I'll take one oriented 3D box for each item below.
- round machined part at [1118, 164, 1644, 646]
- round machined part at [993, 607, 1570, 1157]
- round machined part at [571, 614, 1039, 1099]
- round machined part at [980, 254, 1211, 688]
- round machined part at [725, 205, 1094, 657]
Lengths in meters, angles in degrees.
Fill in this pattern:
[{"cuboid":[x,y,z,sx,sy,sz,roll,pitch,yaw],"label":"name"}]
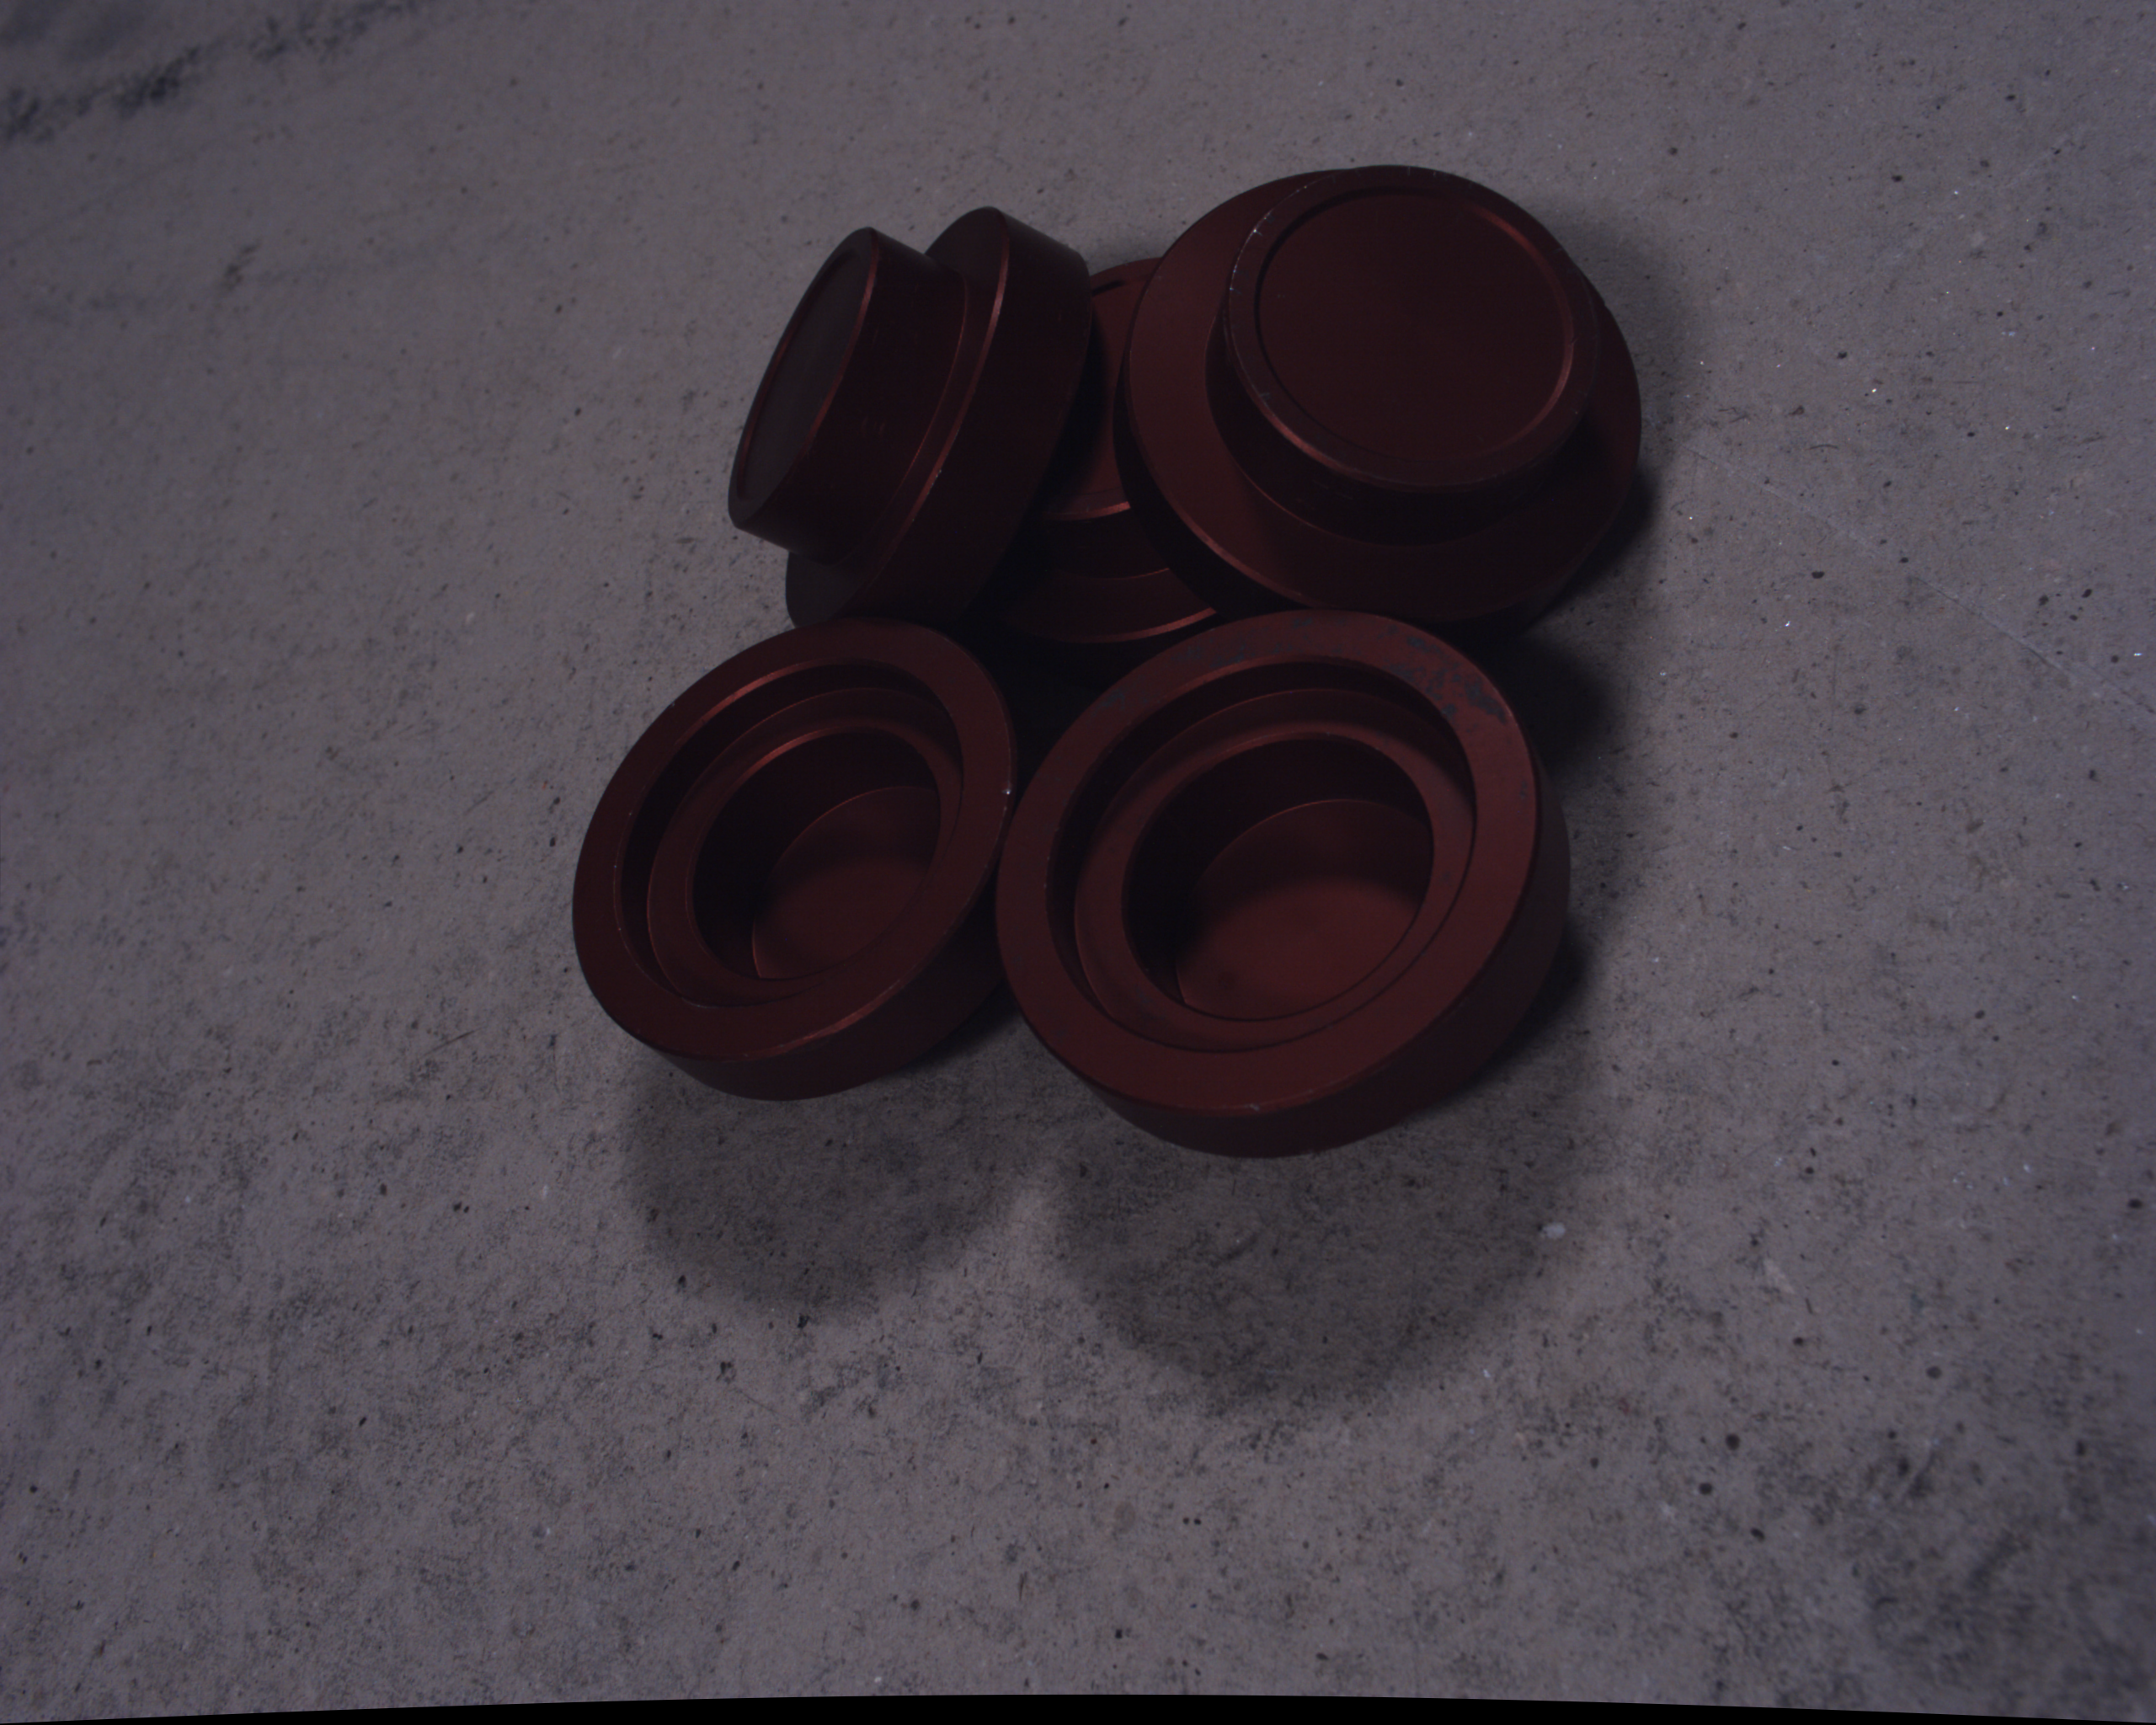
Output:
[{"cuboid":[0.058,-0.090,0.390,0.099,0.042,0.098,2,71,-5],"label":"round machined part"},{"cuboid":[0.038,0.007,0.369,0.098,0.042,0.098,-13,56,20],"label":"round machined part"},{"cuboid":[-0.048,0.002,0.417,0.098,0.042,0.098,-13,56,20],"label":"round machined part"},{"cuboid":[0.015,-0.088,0.438,0.098,0.042,0.098,-13,56,20],"label":"round machined part"},{"cuboid":[-0.041,-0.094,0.442,0.098,0.042,0.098,-44,33,40],"label":"round machined part"}]
